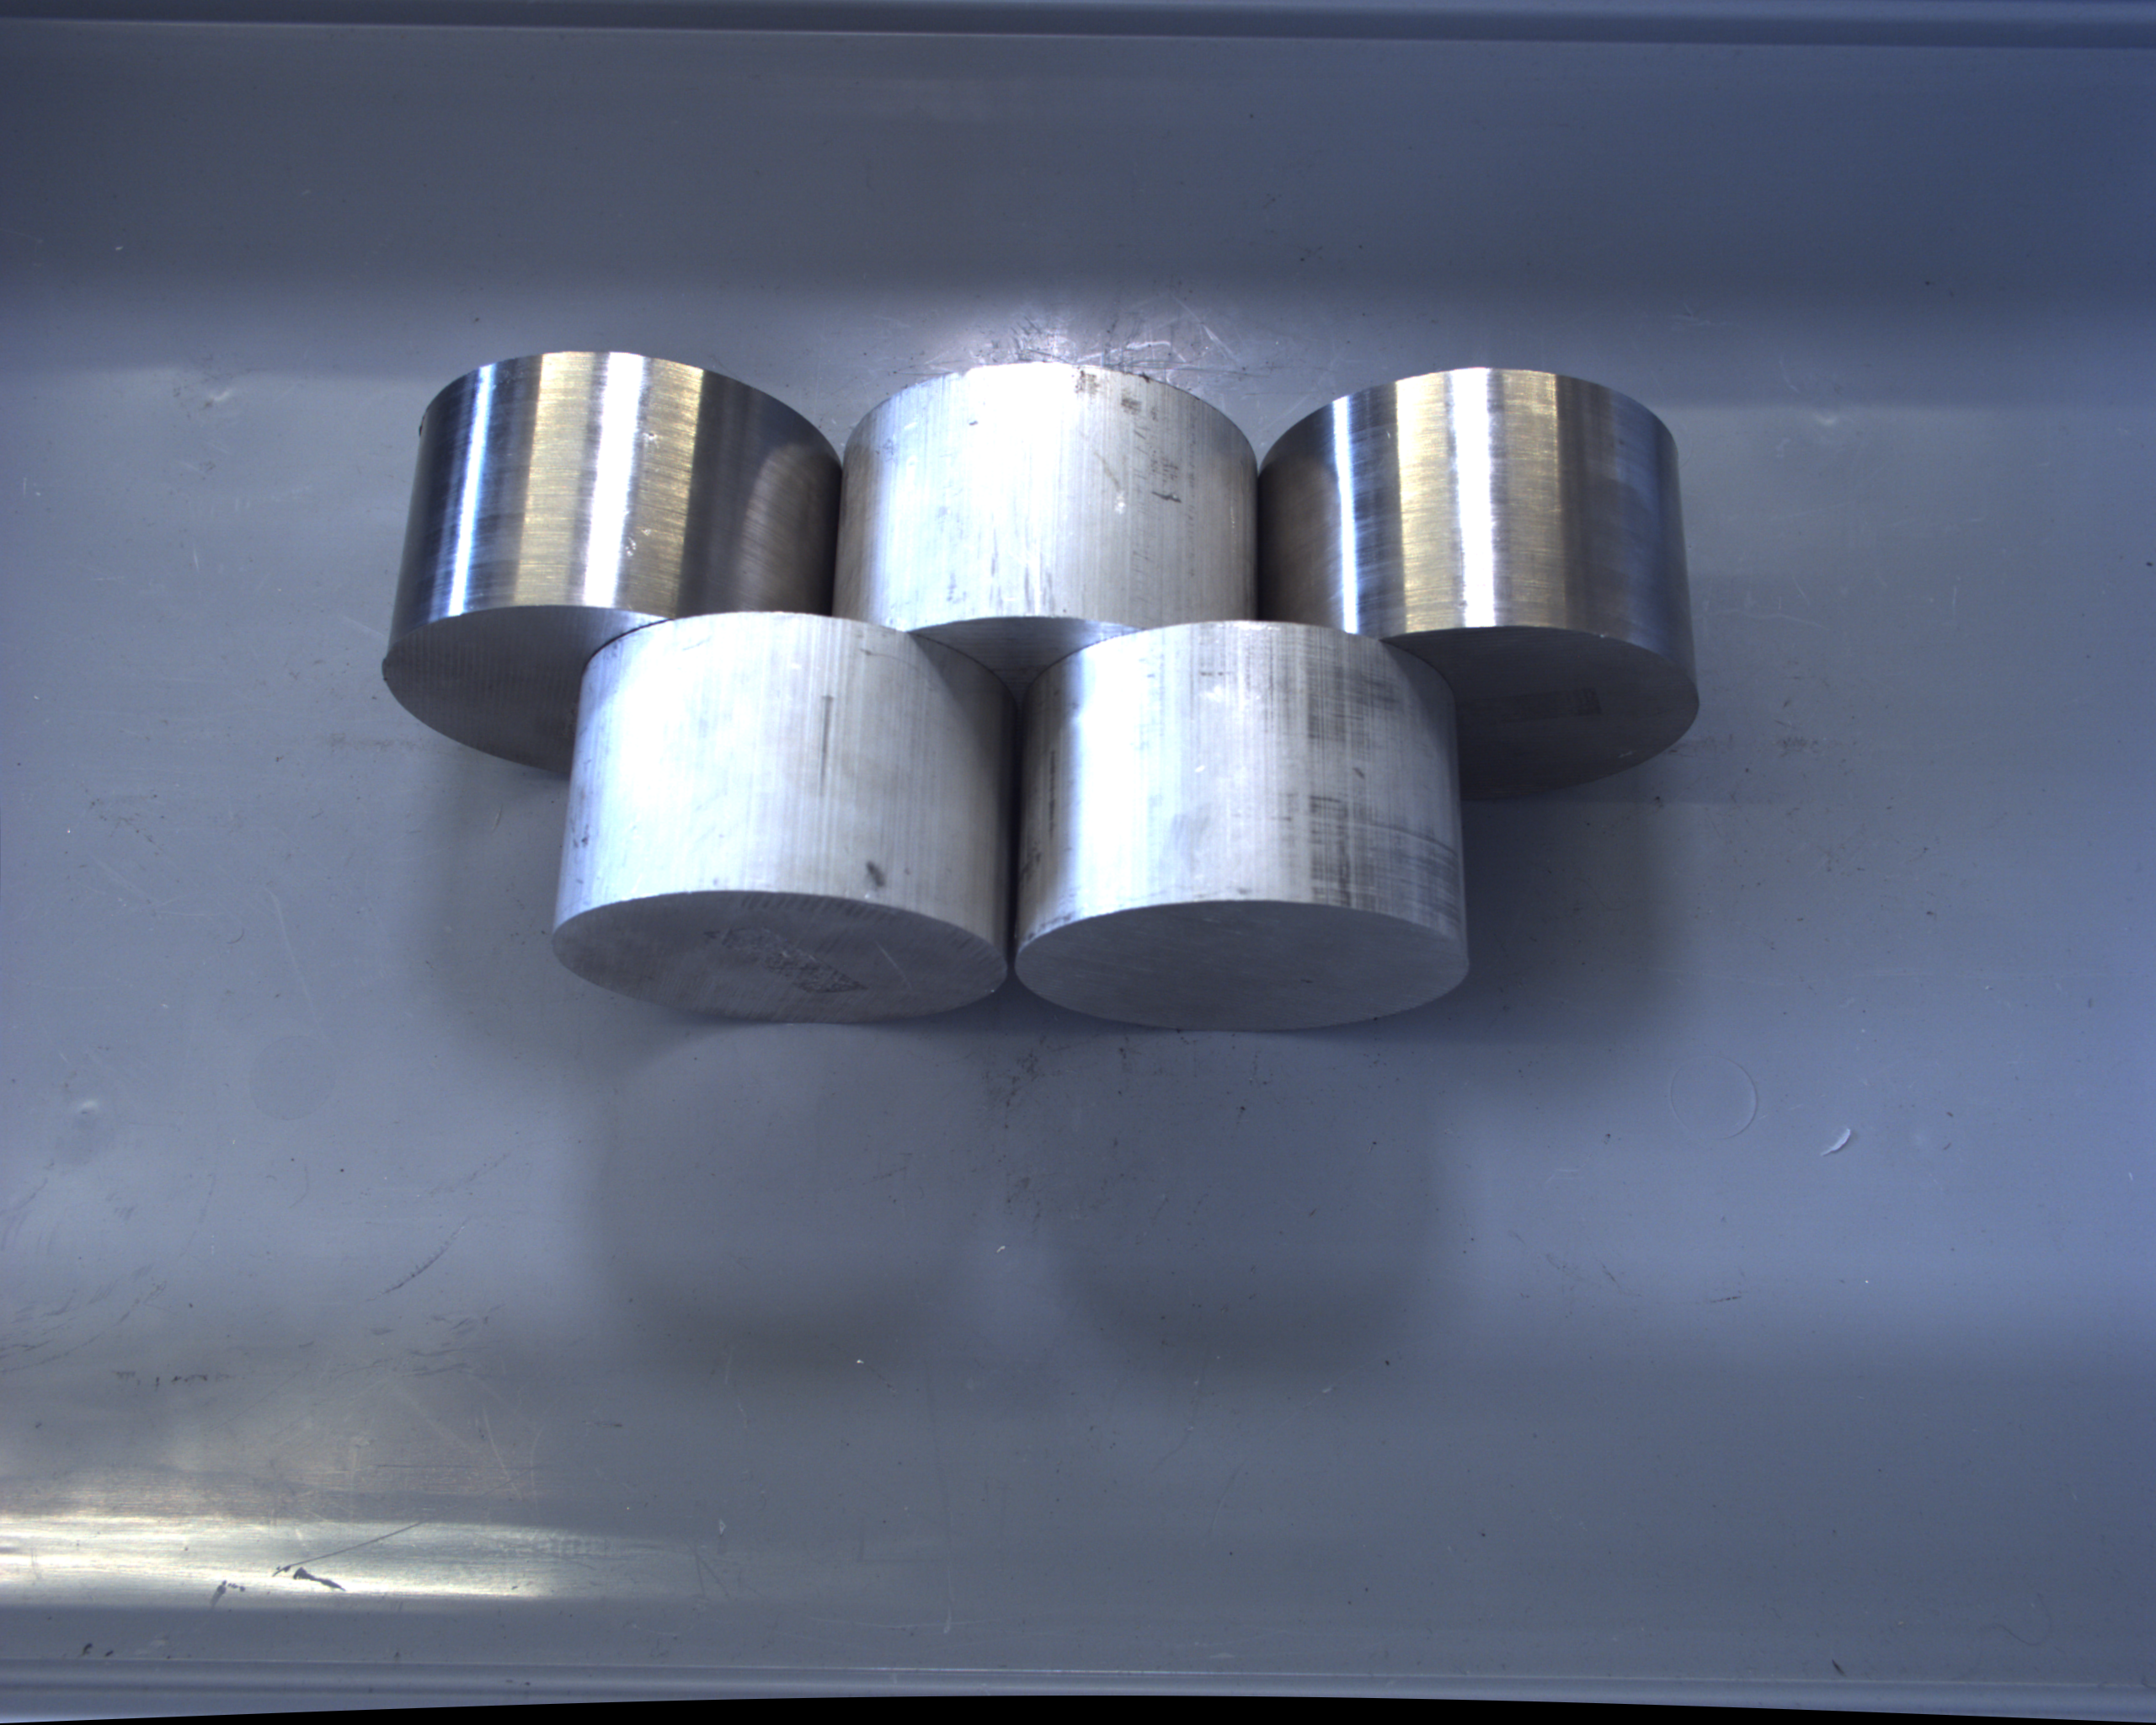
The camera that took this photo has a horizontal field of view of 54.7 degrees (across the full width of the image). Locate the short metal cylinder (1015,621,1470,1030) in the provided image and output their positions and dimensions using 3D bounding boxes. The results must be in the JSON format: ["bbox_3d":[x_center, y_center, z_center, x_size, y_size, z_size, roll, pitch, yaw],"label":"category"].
[{"bbox_3d":[0.029,-0.004,0.380,0.080,0.080,0.050,1,70,0],"label":"short metal cylinder"}]

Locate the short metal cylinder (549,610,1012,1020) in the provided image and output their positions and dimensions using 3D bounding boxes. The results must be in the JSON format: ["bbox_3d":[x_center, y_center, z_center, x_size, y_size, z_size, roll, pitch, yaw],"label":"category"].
[{"bbox_3d":[-0.053,-0.006,0.380,0.080,0.080,0.050,1,70,0],"label":"short metal cylinder"}]

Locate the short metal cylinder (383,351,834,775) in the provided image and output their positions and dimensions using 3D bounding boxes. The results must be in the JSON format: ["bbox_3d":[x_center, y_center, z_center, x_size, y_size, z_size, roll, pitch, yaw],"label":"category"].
[{"bbox_3d":[-0.087,-0.054,0.398,0.080,0.080,0.050,1,70,0],"label":"short metal cylinder"}]

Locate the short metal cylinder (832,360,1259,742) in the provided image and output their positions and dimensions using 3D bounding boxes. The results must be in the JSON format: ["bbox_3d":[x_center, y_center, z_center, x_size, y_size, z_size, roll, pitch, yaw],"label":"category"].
[{"bbox_3d":[-0.006,-0.052,0.397,0.080,0.080,0.050,1,70,0],"label":"short metal cylinder"}]

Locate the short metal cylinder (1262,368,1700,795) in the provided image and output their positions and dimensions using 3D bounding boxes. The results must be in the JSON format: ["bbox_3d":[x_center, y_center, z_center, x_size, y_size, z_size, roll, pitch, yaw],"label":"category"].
[{"bbox_3d":[0.075,-0.051,0.397,0.080,0.080,0.050,2,70,0],"label":"short metal cylinder"}]
